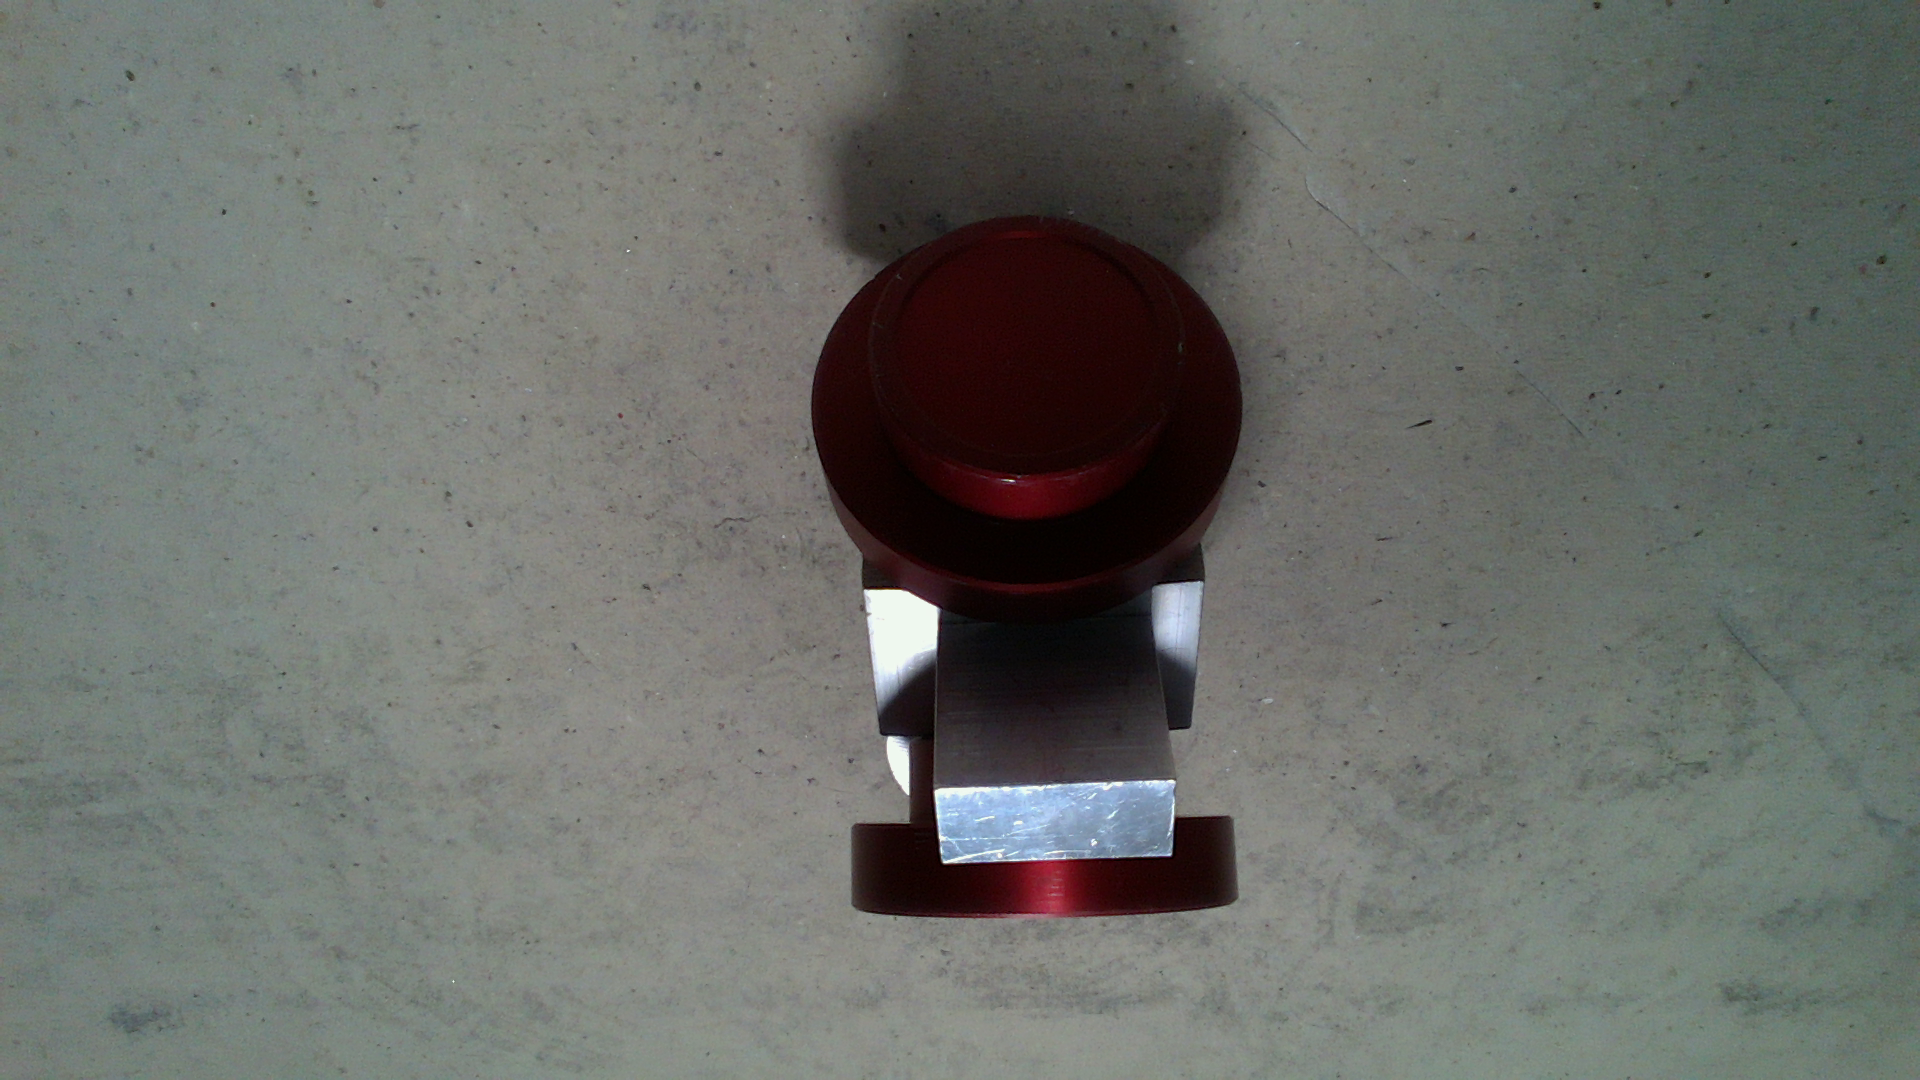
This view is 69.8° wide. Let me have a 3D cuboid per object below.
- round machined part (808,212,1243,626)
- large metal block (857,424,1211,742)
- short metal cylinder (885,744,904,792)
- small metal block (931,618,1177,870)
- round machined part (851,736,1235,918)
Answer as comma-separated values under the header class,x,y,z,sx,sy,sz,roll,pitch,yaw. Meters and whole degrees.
class,x,y,z,sx,sy,sz,roll,pitch,yaw
round machined part,0.015,-0.034,0.310,0.098,0.098,0.042,-2,155,1
large metal block,0.018,0.005,0.358,0.080,0.080,0.050,-2,130,1
short metal cylinder,0.019,0.044,0.413,0.080,0.050,0.080,0,130,0
small metal block,0.020,0.044,0.306,0.050,0.050,0.025,-2,130,2
round machined part,0.020,0.072,0.354,0.098,0.042,0.098,-1,169,0
